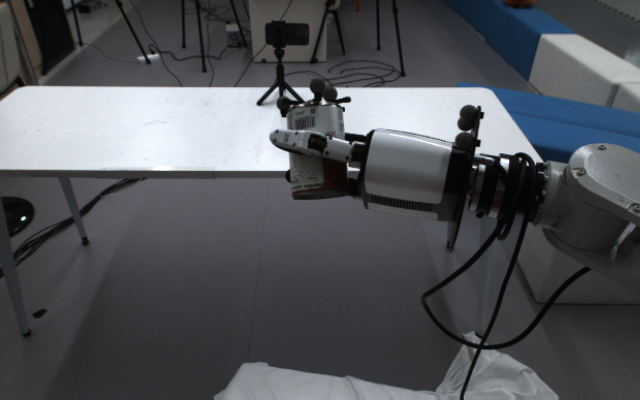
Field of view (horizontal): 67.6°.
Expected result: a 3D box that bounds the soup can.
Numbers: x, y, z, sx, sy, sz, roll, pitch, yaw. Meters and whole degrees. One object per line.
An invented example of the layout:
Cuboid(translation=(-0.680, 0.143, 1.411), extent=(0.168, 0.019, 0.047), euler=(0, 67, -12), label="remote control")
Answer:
Cuboid(translation=(-0.001, -0.054, 0.557), extent=(0.067, 0.101, 0.067), euler=(-5, -5, 0), label="soup can")
